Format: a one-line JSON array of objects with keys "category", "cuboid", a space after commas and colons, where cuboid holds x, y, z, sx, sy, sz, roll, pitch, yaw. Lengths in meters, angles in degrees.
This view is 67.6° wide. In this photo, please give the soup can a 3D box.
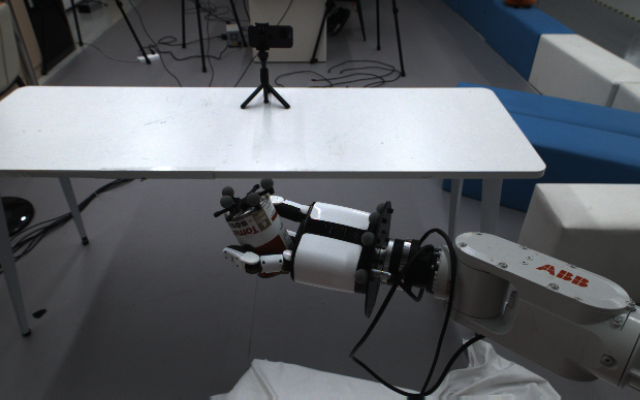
[{"category": "soup can", "cuboid": [-0.078, 0.049, 0.675, 0.067, 0.101, 0.067, -21, 24, 10]}]
